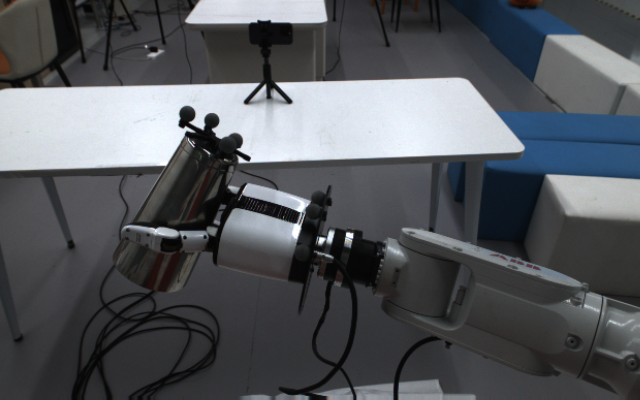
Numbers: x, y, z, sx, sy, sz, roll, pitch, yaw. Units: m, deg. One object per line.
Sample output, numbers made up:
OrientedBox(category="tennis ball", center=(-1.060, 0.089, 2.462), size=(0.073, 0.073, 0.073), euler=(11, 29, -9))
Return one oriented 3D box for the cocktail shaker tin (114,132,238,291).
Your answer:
OrientedBox(category="cocktail shaker tin", center=(-0.161, 0.010, 0.562), size=(0.093, 0.170, 0.093), euler=(28, 14, -7))
